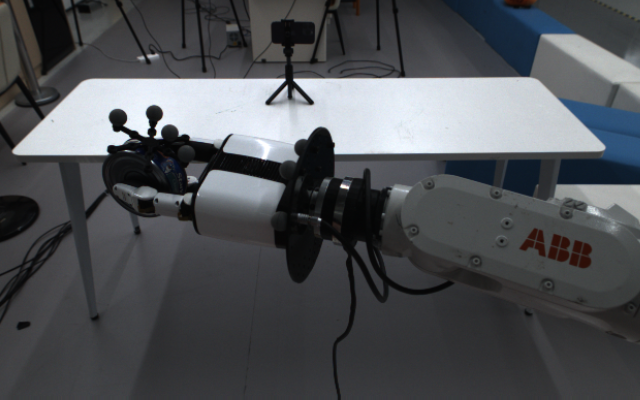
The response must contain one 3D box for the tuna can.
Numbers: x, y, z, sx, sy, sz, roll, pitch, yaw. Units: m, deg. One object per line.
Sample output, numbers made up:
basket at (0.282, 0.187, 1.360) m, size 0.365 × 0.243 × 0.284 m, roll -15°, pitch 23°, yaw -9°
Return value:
tuna can at (-0.188, -0.017, 0.525) m, size 0.085 × 0.085 × 0.034 m, roll 12°, pitch 35°, yaw 14°
